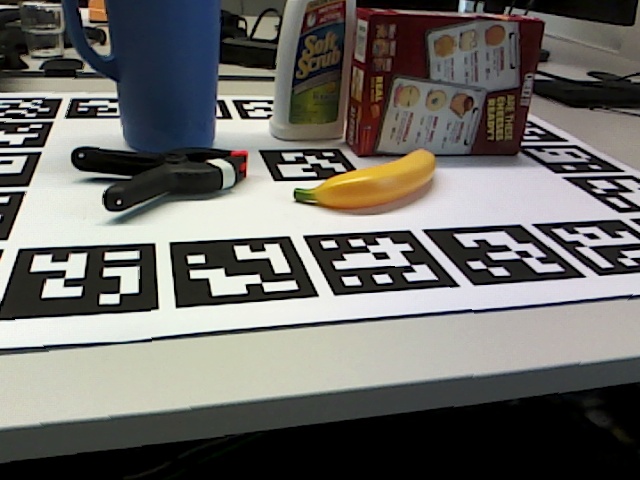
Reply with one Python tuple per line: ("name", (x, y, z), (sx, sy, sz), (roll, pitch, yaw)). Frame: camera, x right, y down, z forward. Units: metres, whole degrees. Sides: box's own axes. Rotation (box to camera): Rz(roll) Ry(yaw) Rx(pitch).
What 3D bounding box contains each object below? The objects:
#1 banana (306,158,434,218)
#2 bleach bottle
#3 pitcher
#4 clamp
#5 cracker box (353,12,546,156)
("banana", (0.074, -0.058, 0.662), (0.075, 0.039, 0.196), (22, 31, 35))
("bleach bottle", (-0.014, -0.241, 0.774), (0.102, 0.250, 0.068), (-4, 26, -15))
("pitcher", (-0.182, -0.229, 0.683), (0.188, 0.242, 0.134), (-11, 28, -33))
("clamp", (-0.143, -0.061, 0.624), (0.164, 0.036, 0.123), (-11, 27, -31))
("cracker box", (0.153, -0.194, 0.760), (0.213, 0.164, 0.072), (-4, 24, -13))
